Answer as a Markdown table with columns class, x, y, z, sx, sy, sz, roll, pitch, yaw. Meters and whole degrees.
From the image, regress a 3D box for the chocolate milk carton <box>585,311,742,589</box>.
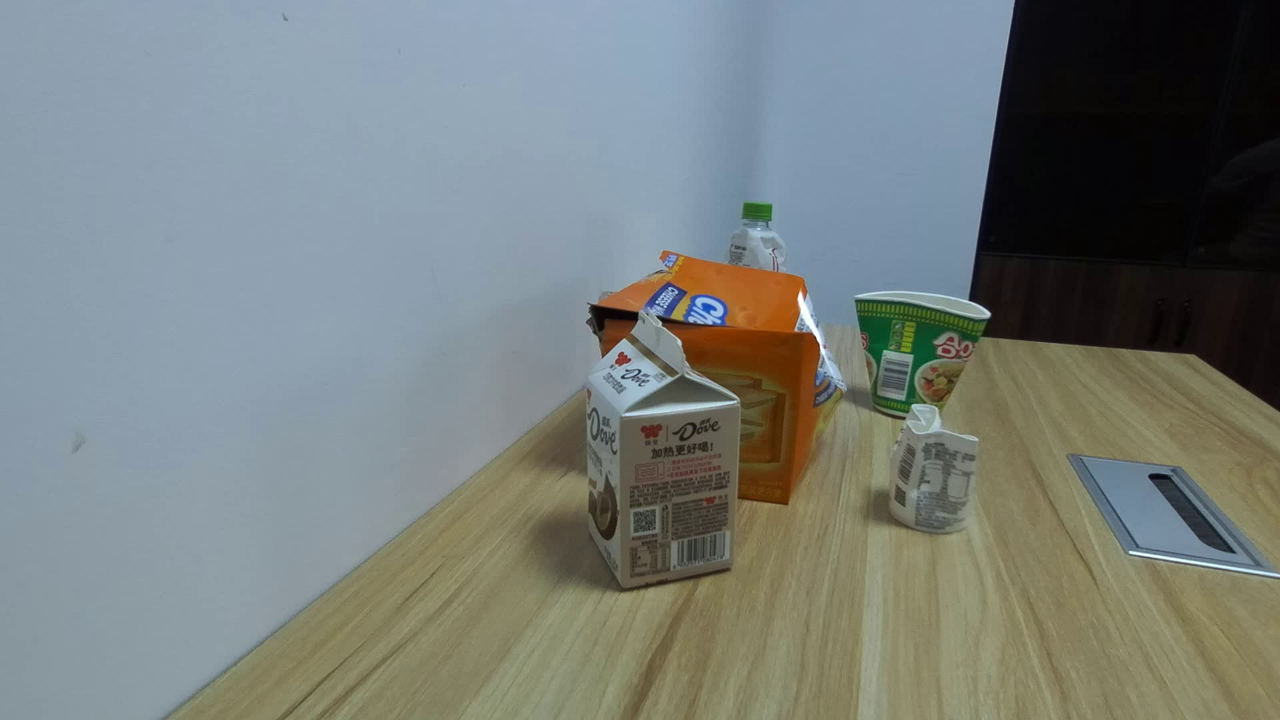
| class | x | y | z | sx | sy | sz | roll | pitch | yaw |
| --- | --- | --- | --- | --- | --- | --- | --- | --- | --- |
| chocolate milk carton | 0.012 | 0.048 | 0.421 | 0.074 | 0.148 | 0.075 | -6 | 18 | -18 |

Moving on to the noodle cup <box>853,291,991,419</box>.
| class | x | y | z | sx | sy | sz | roll | pitch | yaw |
| --- | --- | --- | --- | --- | --- | --- | --- | --- | --- |
| noodle cup | 0.263 | -0.007 | 0.672 | 0.070 | 0.111 | 0.114 | -10 | 23 | -27 |

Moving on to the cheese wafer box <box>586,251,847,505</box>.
| class | x | y | z | sx | sy | sz | roll | pitch | yaw |
| --- | --- | --- | --- | --- | --- | --- | --- | --- | --- |
| cheese wafer box | 0.077 | 0.000 | 0.593 | 0.191 | 0.145 | 0.219 | 5 | 18 | 14 |

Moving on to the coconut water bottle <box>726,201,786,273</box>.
| class | x | y | z | sx | sy | sz | roll | pitch | yaw |
| --- | --- | --- | --- | --- | --- | --- | --- | --- | --- |
| coconut water bottle | 0.123 | -0.074 | 0.755 | 0.067 | 0.186 | 0.067 | 1 | 7 | 0 |

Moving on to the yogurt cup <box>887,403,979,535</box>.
| class | x | y | z | sx | sy | sz | roll | pitch | yaw |
| --- | --- | --- | --- | --- | --- | --- | --- | --- | --- |
| yogurt cup | 0.198 | 0.074 | 0.480 | 0.055 | 0.072 | 0.055 | 6 | 19 | 23 |
